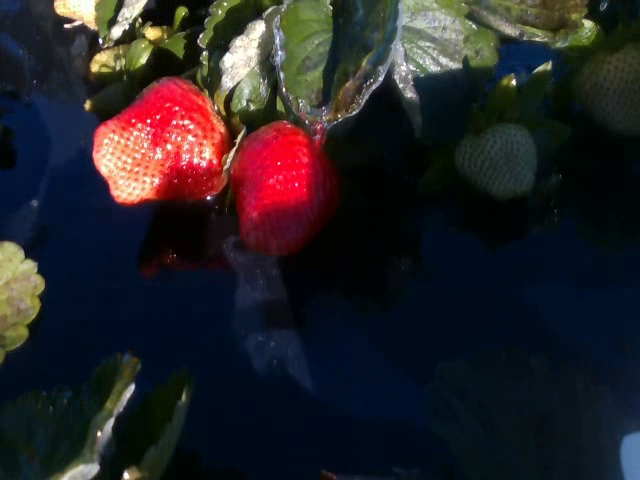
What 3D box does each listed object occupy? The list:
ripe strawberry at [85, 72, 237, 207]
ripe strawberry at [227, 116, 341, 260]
[{"bbox_3d":[-0.065,-0.037,0.236,0.052,0.070,0.040,42,-18,10],"label":"ripe strawberry"},{"bbox_3d":[-0.017,-0.024,0.216,0.043,0.059,0.040,-6,-25,4],"label":"ripe strawberry"}]
